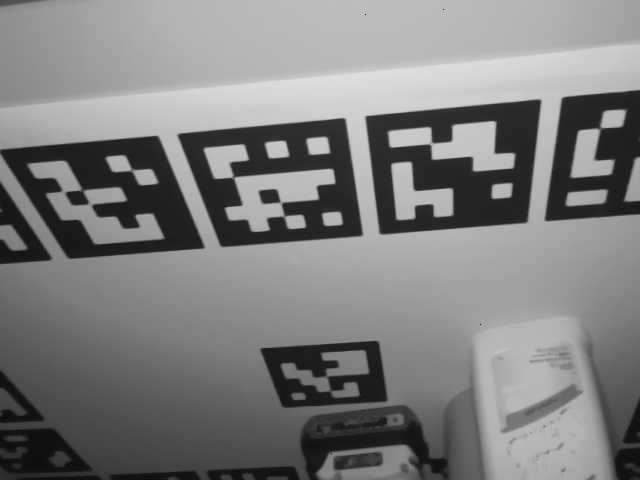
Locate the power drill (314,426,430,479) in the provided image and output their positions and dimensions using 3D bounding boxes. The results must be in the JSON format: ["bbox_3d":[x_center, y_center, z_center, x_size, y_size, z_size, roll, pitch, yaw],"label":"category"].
[{"bbox_3d":[0.022,0.251,0.581,0.183,0.189,0.057,-7,129,15],"label":"power drill"}]

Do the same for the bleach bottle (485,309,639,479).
[{"bbox_3d":[0.177,0.164,0.461,0.102,0.253,0.067,-12,130,12],"label":"bleach bottle"}]

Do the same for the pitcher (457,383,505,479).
[{"bbox_3d":[0.184,0.225,0.543,0.186,0.245,0.134,-28,124,24],"label":"pitcher"}]
